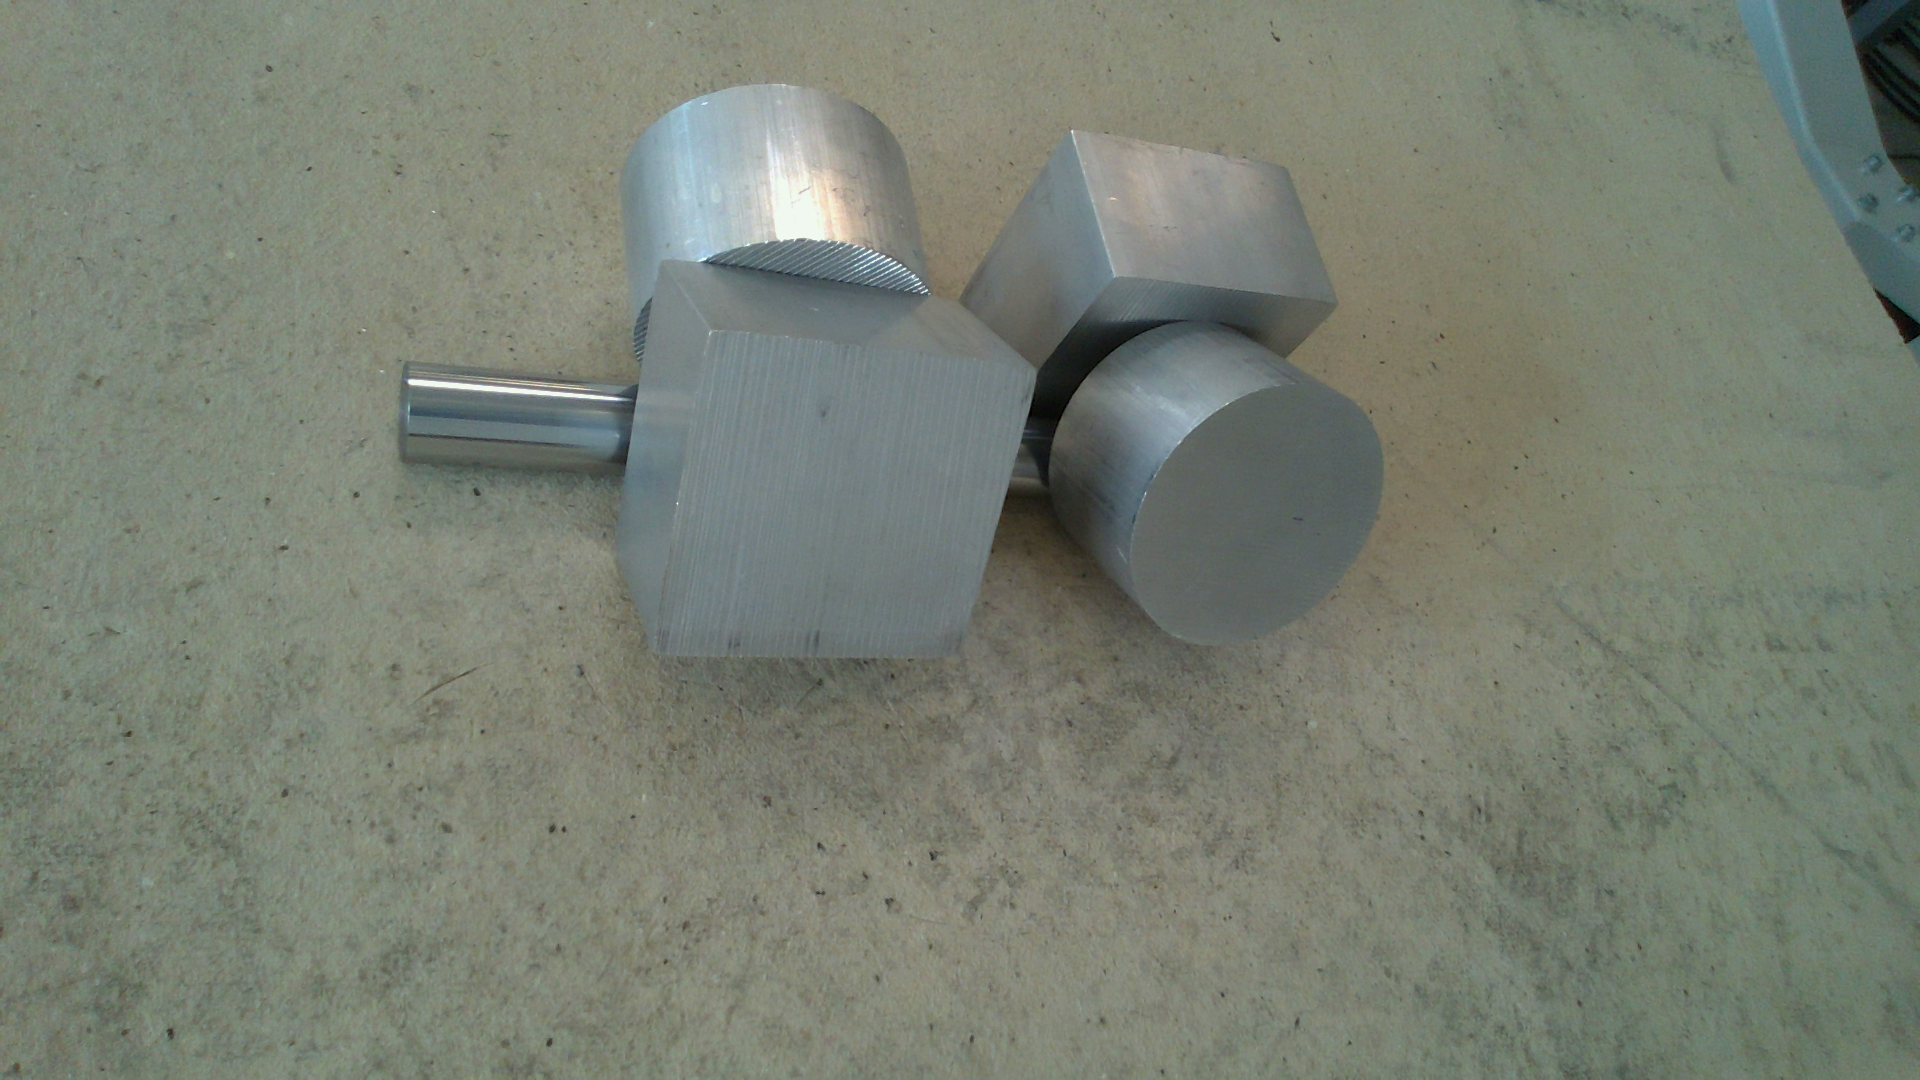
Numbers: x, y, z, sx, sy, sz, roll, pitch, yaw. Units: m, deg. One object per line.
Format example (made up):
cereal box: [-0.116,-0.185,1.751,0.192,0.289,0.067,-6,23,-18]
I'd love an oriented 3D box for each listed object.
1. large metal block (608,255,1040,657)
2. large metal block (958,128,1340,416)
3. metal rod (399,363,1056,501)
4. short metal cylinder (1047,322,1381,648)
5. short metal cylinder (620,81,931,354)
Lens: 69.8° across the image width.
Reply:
large metal block: [-0.036,-0.019,0.339,0.080,0.080,0.050,3,26,-27]
large metal block: [0.055,-0.075,0.430,0.080,0.080,0.050,1,61,-27]
metal rod: [-0.003,-0.025,0.406,0.301,0.025,0.025,2,60,-27]
short metal cylinder: [0.072,-0.016,0.395,0.080,0.080,0.050,2,26,-27]
short metal cylinder: [-0.050,-0.076,0.373,0.080,0.080,0.050,3,60,-26]
